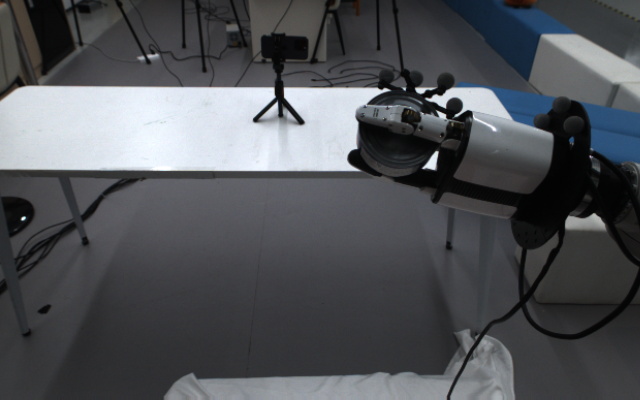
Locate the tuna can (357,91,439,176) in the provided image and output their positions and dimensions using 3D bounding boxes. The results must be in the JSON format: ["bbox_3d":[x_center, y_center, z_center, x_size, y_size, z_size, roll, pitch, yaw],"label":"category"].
[{"bbox_3d":[0.083,-0.072,0.509,0.085,0.034,0.085,0,72,0],"label":"tuna can"}]
